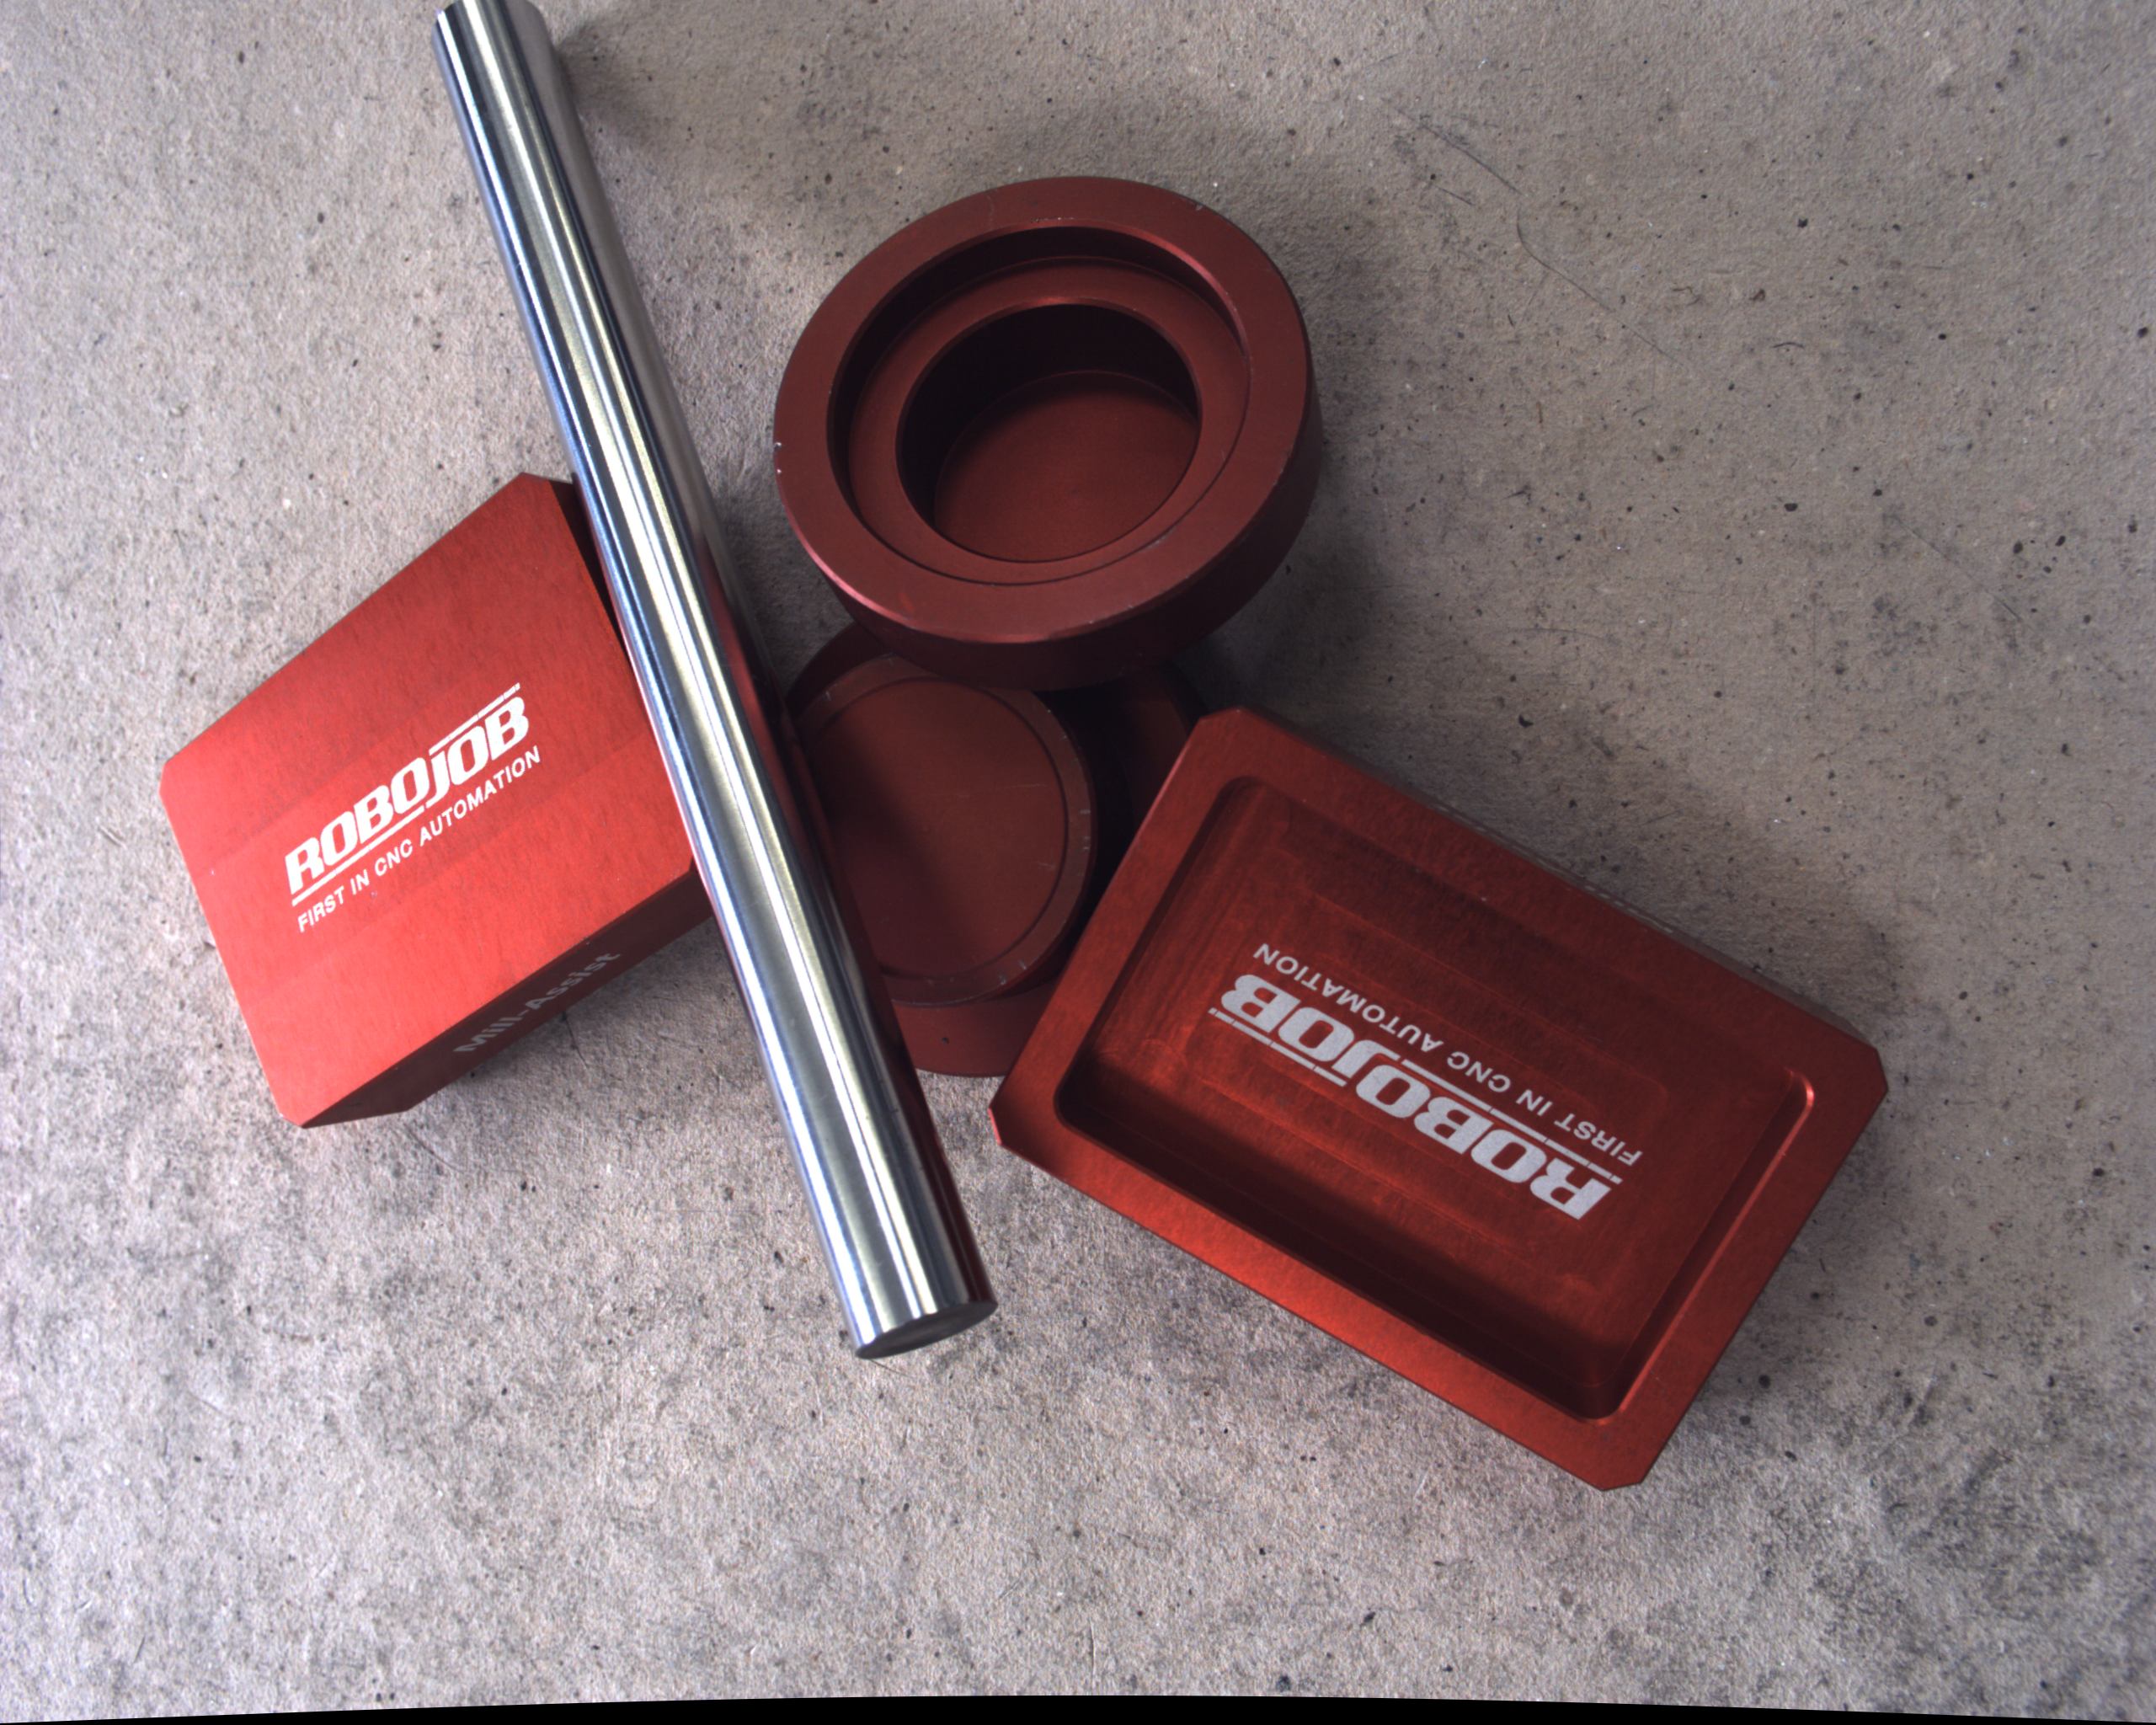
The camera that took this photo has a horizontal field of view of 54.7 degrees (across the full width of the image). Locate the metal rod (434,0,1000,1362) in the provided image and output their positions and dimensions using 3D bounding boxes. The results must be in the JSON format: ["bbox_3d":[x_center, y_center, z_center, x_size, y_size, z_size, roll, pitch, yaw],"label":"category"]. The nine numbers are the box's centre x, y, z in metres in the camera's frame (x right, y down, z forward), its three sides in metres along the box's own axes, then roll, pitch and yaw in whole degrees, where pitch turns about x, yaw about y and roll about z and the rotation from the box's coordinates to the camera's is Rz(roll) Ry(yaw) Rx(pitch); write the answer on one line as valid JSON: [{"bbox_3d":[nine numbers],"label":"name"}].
[{"bbox_3d":[-0.076,-0.051,0.402,0.025,0.025,0.299,-29,68,17],"label":"metal rod"}]

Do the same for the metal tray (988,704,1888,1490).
[{"bbox_3d":[0.062,0.039,0.374,0.130,0.030,0.090,29,99,7],"label":"metal tray"}]

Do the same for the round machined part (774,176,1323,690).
[{"bbox_3d":[-0.003,-0.076,0.391,0.098,0.042,0.098,-4,67,11],"label":"round machined part"}]

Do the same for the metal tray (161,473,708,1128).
[{"bbox_3d":[-0.131,-0.011,0.442,0.130,0.030,0.090,-31,77,26],"label":"metal tray"}]

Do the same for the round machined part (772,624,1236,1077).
[{"bbox_3d":[-0.022,-0.007,0.409,0.098,0.042,0.097,0,90,20],"label":"round machined part"}]
